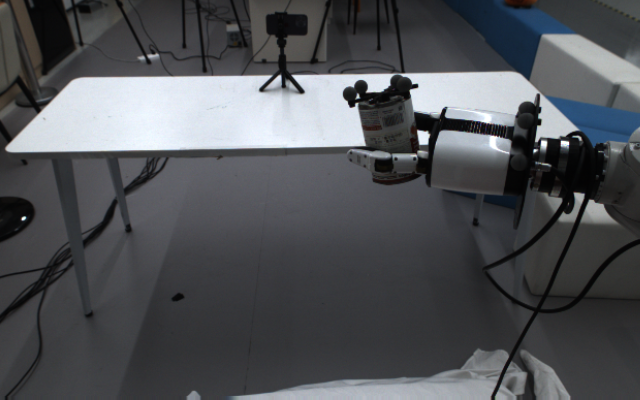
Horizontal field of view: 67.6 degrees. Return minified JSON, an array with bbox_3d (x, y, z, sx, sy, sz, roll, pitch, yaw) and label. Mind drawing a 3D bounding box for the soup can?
[{"bbox_3d":[0.092,-0.078,0.607,0.067,0.101,0.067,-13,20,5],"label":"soup can"}]
